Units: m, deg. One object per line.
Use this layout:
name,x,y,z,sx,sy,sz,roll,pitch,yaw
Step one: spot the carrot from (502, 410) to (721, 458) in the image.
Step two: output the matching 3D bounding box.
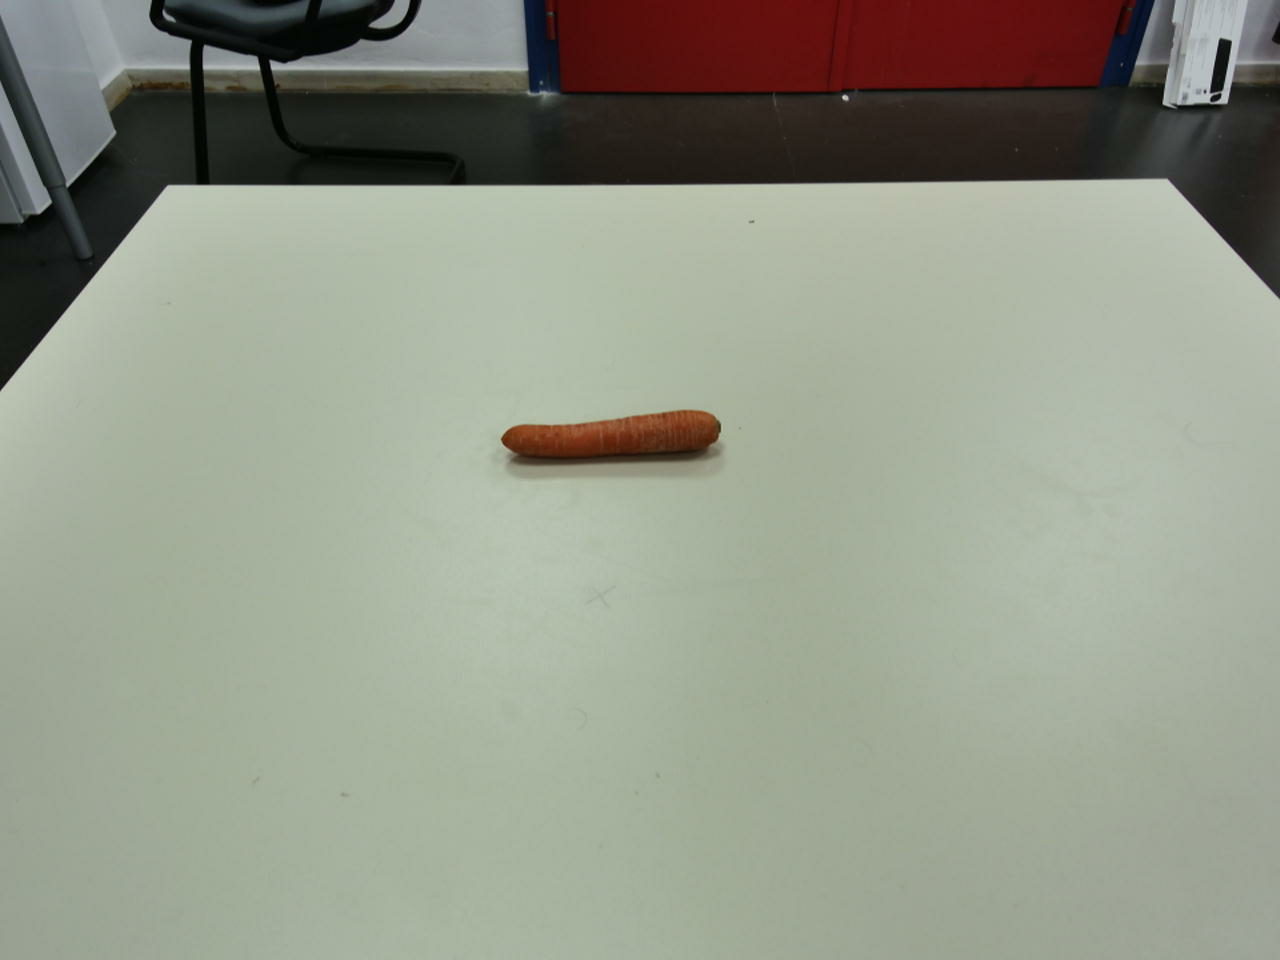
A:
carrot,-0.015,-0.026,0.557,0.122,0.023,0.024,-2,39,-2
